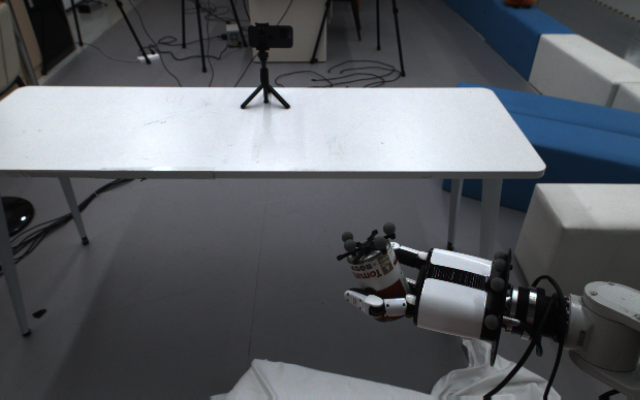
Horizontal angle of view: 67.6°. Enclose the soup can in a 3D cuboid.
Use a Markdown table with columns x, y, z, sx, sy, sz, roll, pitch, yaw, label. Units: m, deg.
| x | y | z | sx | sy | sz | roll | pitch | yaw | label |
| --- | --- | --- | --- | --- | --- | --- | --- | --- | --- |
| 0.090 | 0.112 | 0.694 | 0.067 | 0.101 | 0.067 | -23 | 16 | 7 | soup can |
